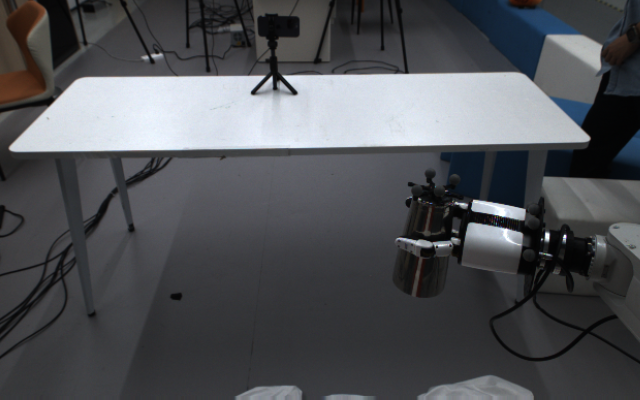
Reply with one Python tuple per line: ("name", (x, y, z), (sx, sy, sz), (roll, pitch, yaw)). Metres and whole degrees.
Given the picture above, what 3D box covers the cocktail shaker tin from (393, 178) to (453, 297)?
("cocktail shaker tin", (0.178, 0.065, 0.803), (0.093, 0.170, 0.093), (2, 30, -1))
